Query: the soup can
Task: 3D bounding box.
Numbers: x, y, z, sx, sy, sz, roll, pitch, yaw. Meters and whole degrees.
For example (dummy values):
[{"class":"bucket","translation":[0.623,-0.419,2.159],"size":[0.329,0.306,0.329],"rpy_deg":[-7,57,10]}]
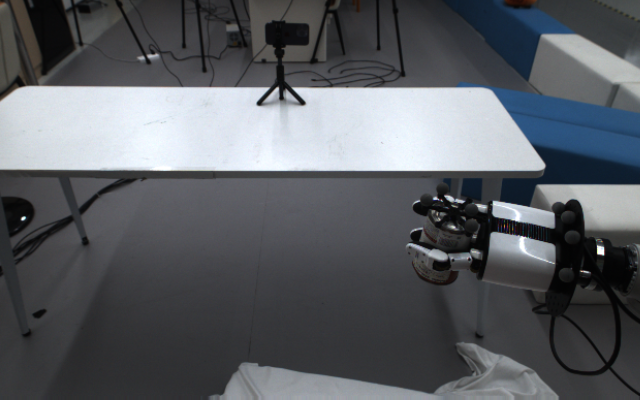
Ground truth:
[{"class":"soup can","translation":[0.176,0.061,0.684],"size":[0.067,0.101,0.067],"rpy_deg":[5,37,-4]}]
